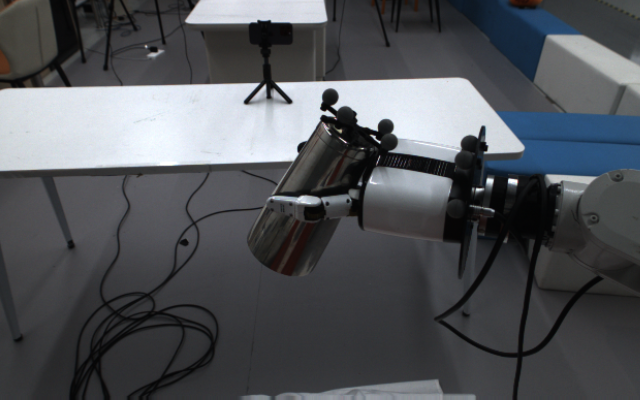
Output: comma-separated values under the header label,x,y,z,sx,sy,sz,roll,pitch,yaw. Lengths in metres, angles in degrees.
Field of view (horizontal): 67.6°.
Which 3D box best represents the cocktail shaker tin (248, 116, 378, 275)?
label,x,y,z,sx,sy,sz,roll,pitch,yaw
cocktail shaker tin,-0.006,-0.008,0.553,0.093,0.170,0.093,25,29,-15
